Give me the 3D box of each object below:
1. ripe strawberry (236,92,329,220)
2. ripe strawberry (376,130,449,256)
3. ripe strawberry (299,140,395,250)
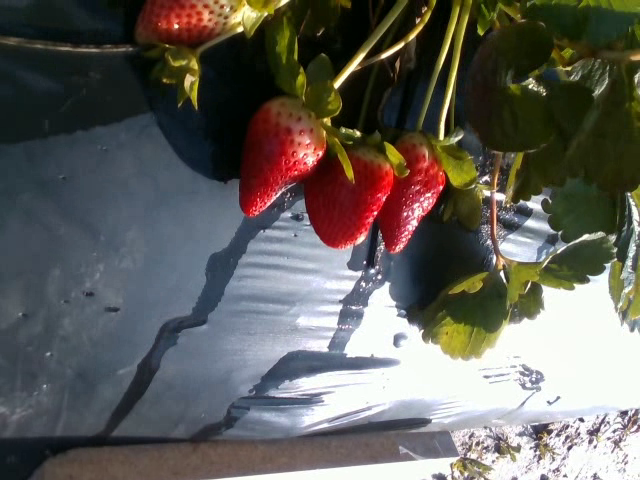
[{"bbox_3d":[-0.014,-0.025,0.197,0.031,0.046,0.023,15,27,-38],"label":"ripe strawberry"},{"bbox_3d":[0.031,-0.012,0.230,0.035,0.041,0.033,11,-7,-35],"label":"ripe strawberry"},{"bbox_3d":[0.010,-0.015,0.210,0.036,0.039,0.030,-14,-27,39],"label":"ripe strawberry"}]
